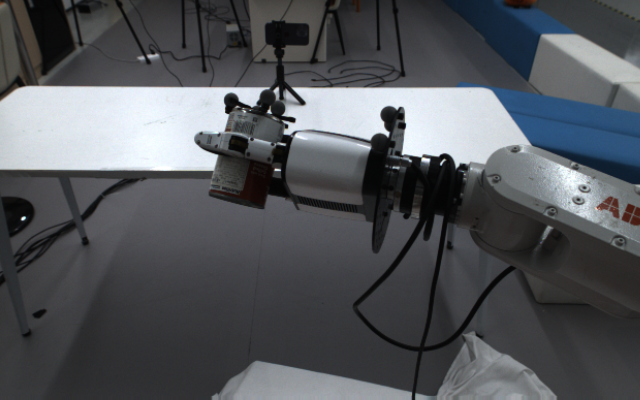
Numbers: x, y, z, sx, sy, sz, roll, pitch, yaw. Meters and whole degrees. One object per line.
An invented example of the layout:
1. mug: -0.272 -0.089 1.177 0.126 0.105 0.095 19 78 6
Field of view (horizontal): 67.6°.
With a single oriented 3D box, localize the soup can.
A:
1. soup can: -0.082 -0.046 0.557 0.067 0.101 0.067 13 -6 1
